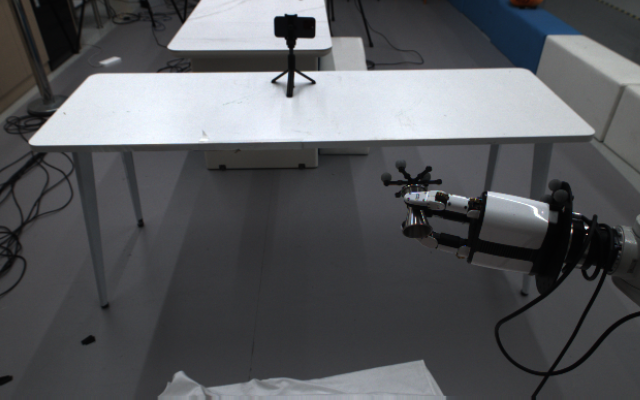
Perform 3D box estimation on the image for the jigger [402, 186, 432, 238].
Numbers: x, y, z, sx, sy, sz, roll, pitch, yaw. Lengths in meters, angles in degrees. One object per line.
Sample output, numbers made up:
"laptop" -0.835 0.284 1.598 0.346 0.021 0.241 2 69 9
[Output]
"jigger" 0.141 0.013 0.713 0.043 0.043 0.071 2 58 -1
